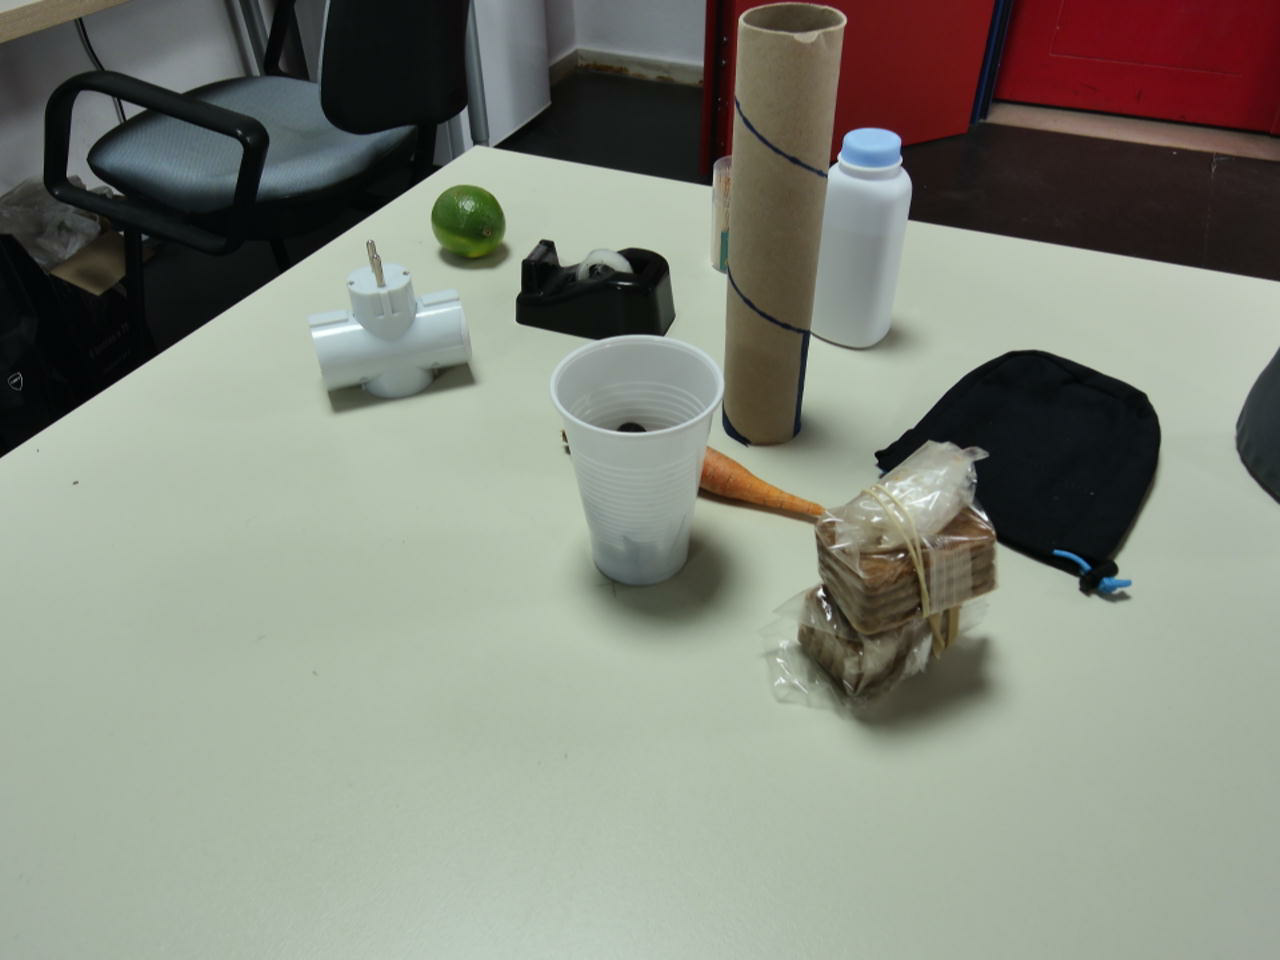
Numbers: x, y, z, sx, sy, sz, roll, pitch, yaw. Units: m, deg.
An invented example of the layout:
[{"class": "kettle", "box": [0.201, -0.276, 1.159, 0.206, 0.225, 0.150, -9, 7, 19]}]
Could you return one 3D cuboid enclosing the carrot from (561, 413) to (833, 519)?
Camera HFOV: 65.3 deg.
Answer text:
[{"class": "carrot", "box": [0.029, -0.010, 0.548, 0.163, 0.029, 0.031, 16, 41, 20]}]
